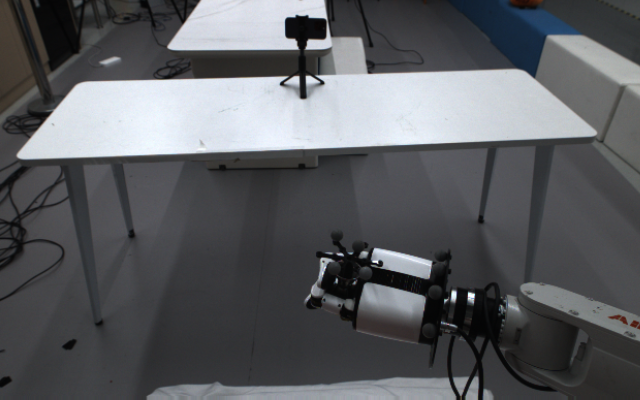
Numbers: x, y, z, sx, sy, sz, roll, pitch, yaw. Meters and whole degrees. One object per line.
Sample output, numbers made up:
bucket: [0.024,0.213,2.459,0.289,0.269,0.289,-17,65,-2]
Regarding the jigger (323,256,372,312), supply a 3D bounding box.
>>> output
jigger: [0.035,0.121,0.671,0.043,0.071,0.043,7,32,-4]
